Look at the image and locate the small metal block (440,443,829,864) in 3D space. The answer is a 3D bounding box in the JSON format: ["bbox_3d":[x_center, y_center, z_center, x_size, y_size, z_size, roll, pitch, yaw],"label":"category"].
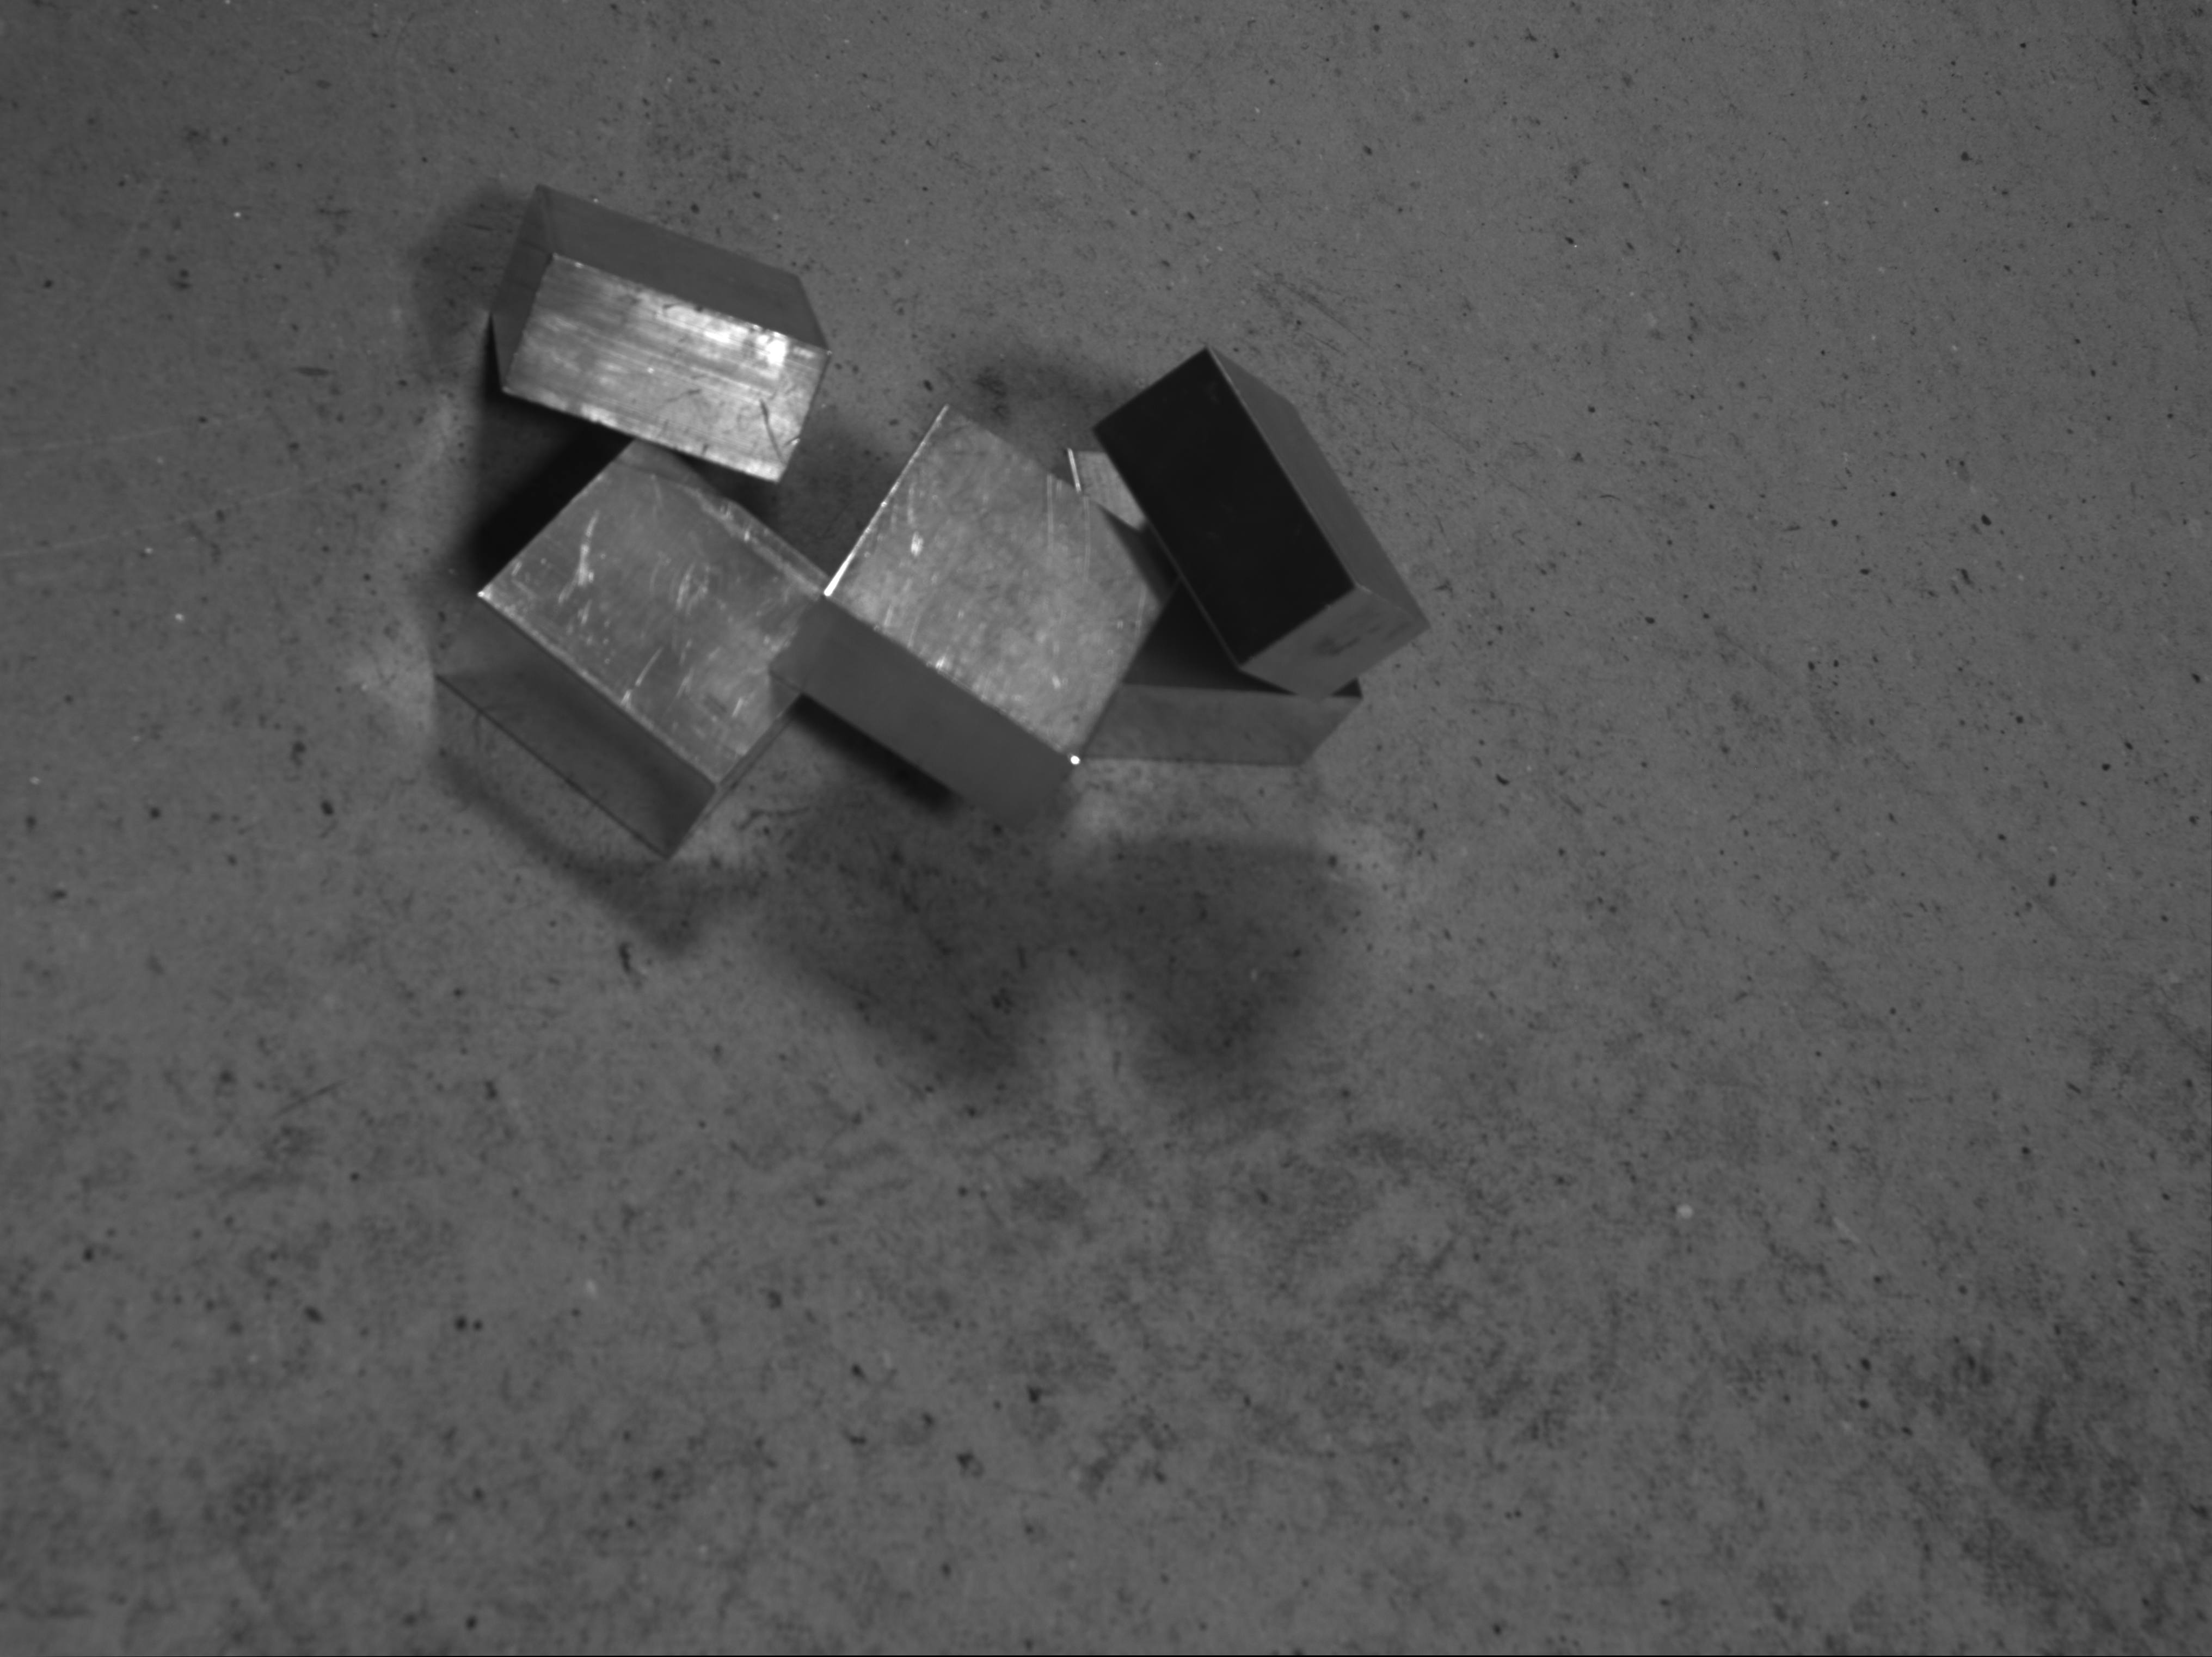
[{"bbox_3d":[-0.075,-0.031,0.618,0.050,0.025,0.050,39,51,-2],"label":"small metal block"}]

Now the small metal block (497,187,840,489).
[{"bbox_3d":[-0.077,-0.086,0.636,0.050,0.025,0.050,17,18,-18],"label":"small metal block"}]

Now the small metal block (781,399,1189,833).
[{"bbox_3d":[-0.019,-0.036,0.618,0.050,0.025,0.050,33,51,-7],"label":"small metal block"}]

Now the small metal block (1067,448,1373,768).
[{"bbox_3d":[0.016,-0.040,0.673,0.050,0.025,0.050,2,61,-27],"label":"small metal block"}]

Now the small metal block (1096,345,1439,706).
[{"bbox_3d":[0.029,-0.052,0.639,0.050,0.025,0.050,60,14,14],"label":"small metal block"}]
